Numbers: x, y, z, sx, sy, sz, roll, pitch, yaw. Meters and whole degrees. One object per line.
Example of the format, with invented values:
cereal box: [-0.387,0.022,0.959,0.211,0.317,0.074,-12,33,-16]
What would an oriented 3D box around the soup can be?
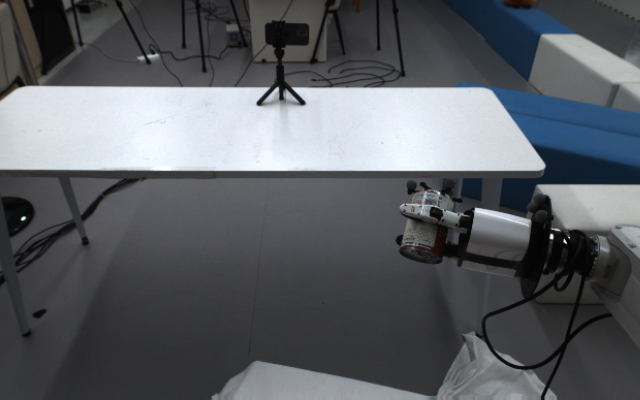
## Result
soup can: [0.170,0.041,0.767,0.067,0.067,0.101,12,70,14]
